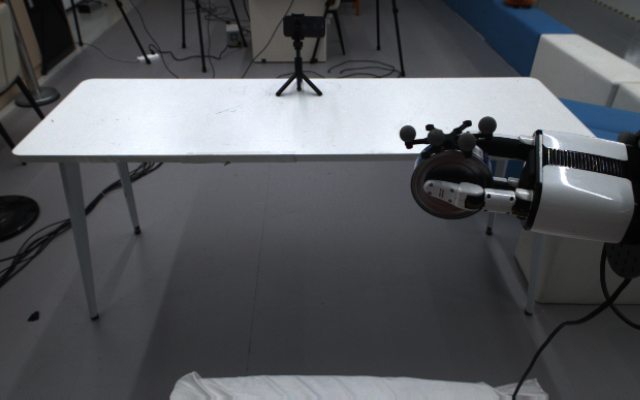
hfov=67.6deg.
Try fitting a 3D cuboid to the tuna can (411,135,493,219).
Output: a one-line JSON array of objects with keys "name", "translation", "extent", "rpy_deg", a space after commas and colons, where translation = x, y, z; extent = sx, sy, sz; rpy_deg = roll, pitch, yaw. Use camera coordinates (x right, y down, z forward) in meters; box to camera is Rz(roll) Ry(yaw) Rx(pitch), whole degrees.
[{"name": "tuna can", "translation": [0.146, -0.025, 0.530], "extent": [0.085, 0.085, 0.034], "rpy_deg": [10, 34, 11]}]
